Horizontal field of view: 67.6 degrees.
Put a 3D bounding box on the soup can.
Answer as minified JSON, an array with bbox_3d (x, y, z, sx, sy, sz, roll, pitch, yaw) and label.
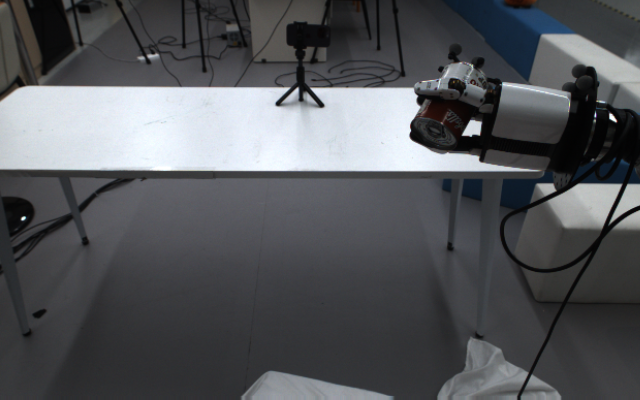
[{"bbox_3d":[0.177,-0.128,0.654,0.067,0.067,0.101,23,73,28],"label":"soup can"}]
